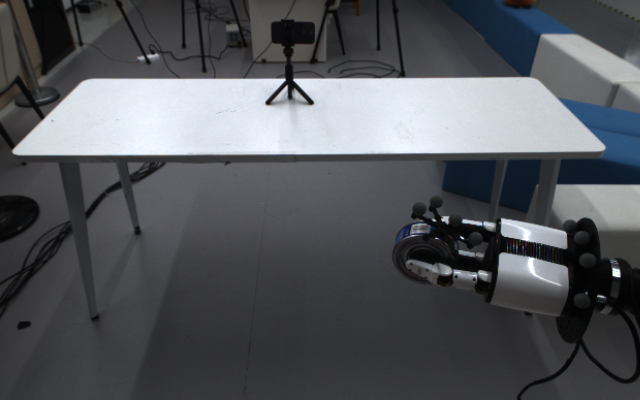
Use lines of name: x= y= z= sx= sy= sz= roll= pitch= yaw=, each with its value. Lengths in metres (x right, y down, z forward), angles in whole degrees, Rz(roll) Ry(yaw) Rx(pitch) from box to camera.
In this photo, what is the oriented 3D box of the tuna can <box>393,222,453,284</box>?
tuna can: x=0.143 y=0.069 z=0.649 sx=0.085 sy=0.085 sz=0.034 roll=12 pitch=35 yaw=14
